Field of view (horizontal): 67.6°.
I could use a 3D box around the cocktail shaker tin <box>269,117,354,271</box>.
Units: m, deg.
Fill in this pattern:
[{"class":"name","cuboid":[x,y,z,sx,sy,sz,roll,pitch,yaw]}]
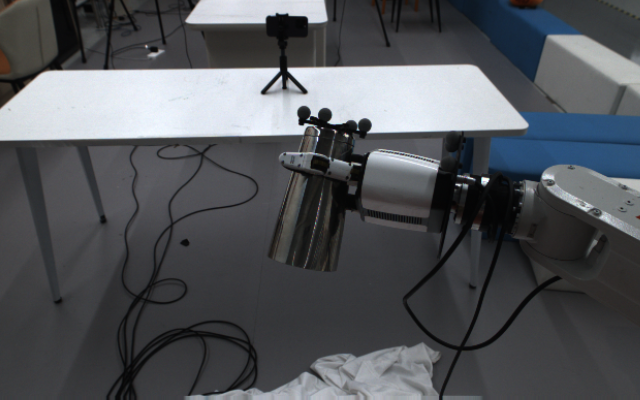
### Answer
[{"class":"cocktail shaker tin","cuboid":[-0.002,-0.005,0.621,0.093,0.170,0.093,13,1,0]}]
